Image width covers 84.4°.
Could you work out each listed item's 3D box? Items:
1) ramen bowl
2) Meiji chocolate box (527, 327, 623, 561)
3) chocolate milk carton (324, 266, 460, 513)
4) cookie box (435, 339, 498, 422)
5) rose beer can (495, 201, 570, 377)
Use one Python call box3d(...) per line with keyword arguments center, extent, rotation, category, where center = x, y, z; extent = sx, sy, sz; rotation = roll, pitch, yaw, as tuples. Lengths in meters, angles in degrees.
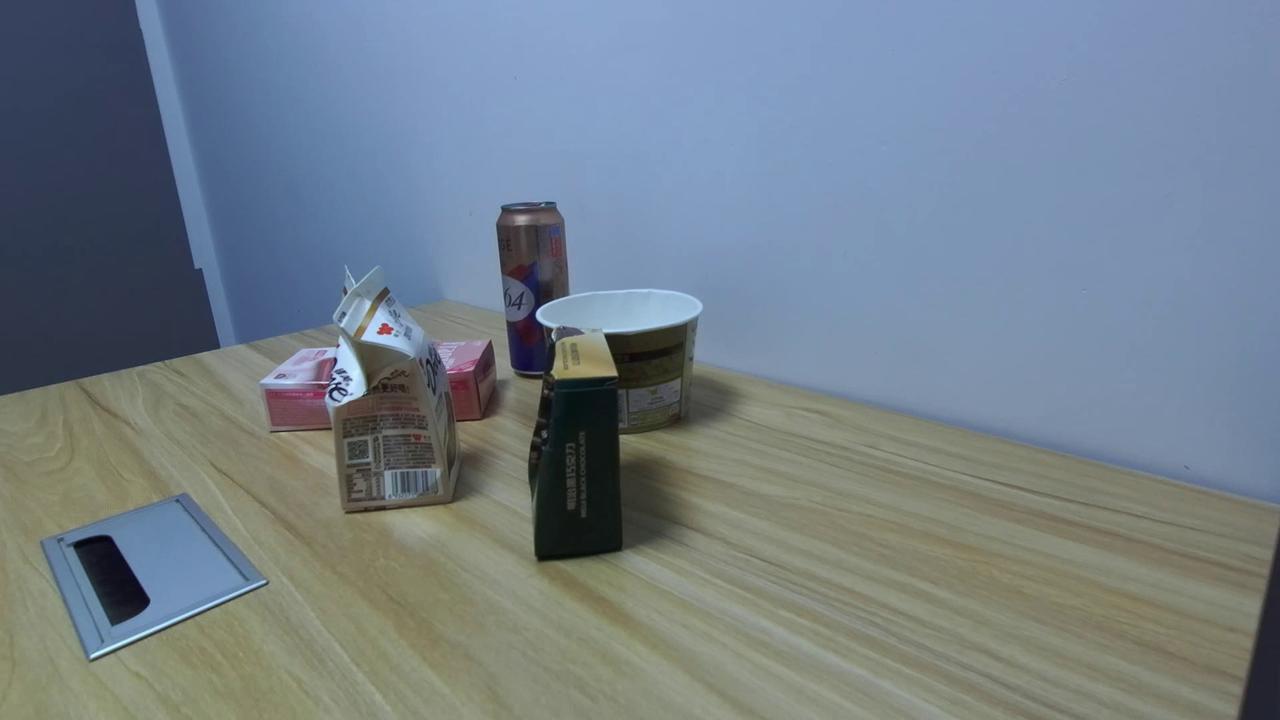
box3d(center=(-0.015, 0.000, 0.605), extent=(0.140, 0.095, 0.140), rotation=(-3, 18, 1), category="ramen bowl")
box3d(center=(-0.039, 0.047, 0.439), extent=(0.052, 0.117, 0.117), rotation=(1, 17, -11), category="Meiji chocolate box")
box3d(center=(-0.173, 0.016, 0.479), extent=(0.074, 0.155, 0.076), rotation=(-6, 20, -6), category="chocolate milk carton")
box3d(center=(-0.231, 0.023, 0.639), extent=(0.187, 0.049, 0.105), rotation=(-4, 18, -1), category="cookie box")
box3d(center=(-0.103, -0.067, 0.707), extent=(0.068, 0.169, 0.068), rotation=(-4, 14, 1), category="rose beer can")
